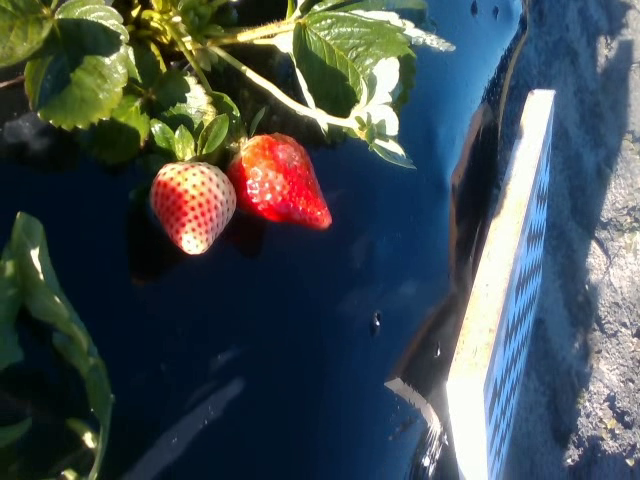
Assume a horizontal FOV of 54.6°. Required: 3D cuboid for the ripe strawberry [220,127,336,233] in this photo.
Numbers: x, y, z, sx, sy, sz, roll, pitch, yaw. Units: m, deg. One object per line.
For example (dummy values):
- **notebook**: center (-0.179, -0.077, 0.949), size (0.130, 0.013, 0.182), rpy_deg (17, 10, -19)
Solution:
- **ripe strawberry**: center (-0.009, -0.021, 0.244), size (0.055, 0.040, 0.038), rpy_deg (38, -8, 28)
